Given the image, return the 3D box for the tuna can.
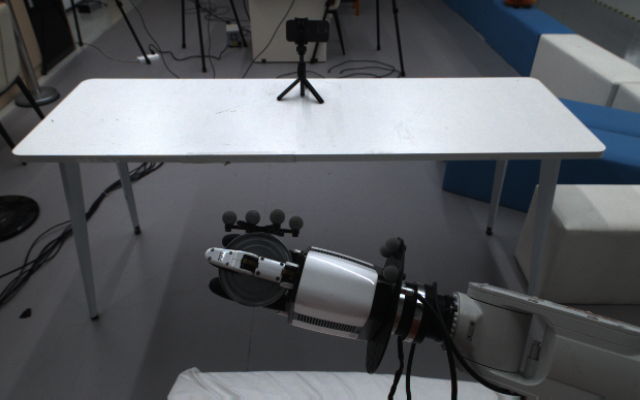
[{"bbox_3d":[-0.071,0.080,0.565,0.085,0.034,0.085,0,76,0],"label":"tuna can"}]
